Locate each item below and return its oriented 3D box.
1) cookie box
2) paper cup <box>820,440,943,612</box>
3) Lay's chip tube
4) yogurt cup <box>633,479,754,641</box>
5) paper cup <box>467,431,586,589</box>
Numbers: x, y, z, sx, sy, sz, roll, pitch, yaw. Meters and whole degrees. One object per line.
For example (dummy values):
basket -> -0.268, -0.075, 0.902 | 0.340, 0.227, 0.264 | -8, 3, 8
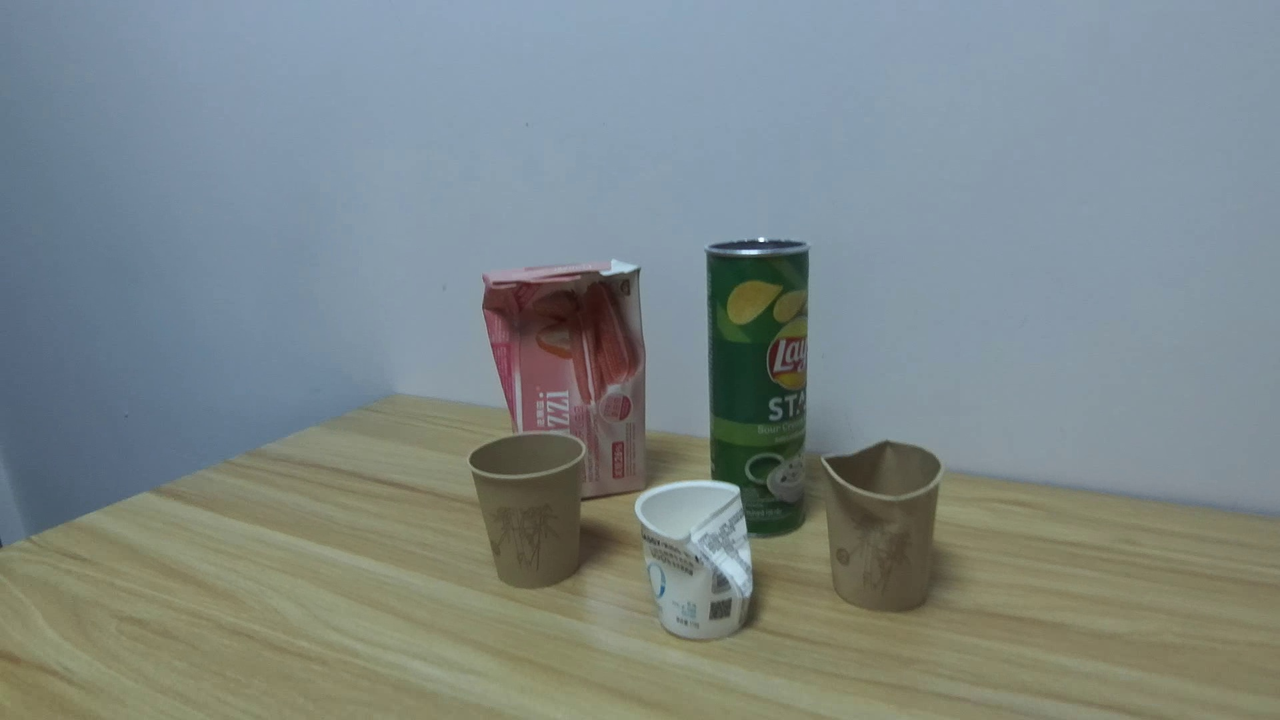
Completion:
cookie box -> -0.055, 0.019, 0.550 | 0.118, 0.184, 0.055 | -6, 17, -7
paper cup -> 0.145, 0.098, 0.413 | 0.072, 0.084, 0.066 | -12, 18, -27
Lay's chip tube -> 0.082, 0.018, 0.491 | 0.071, 0.202, 0.071 | -3, 16, 1
yogurt cup -> 0.031, 0.114, 0.401 | 0.067, 0.070, 0.067 | -4, 17, 1
paper cup -> -0.069, 0.098, 0.456 | 0.075, 0.082, 0.075 | -3, 15, 1
